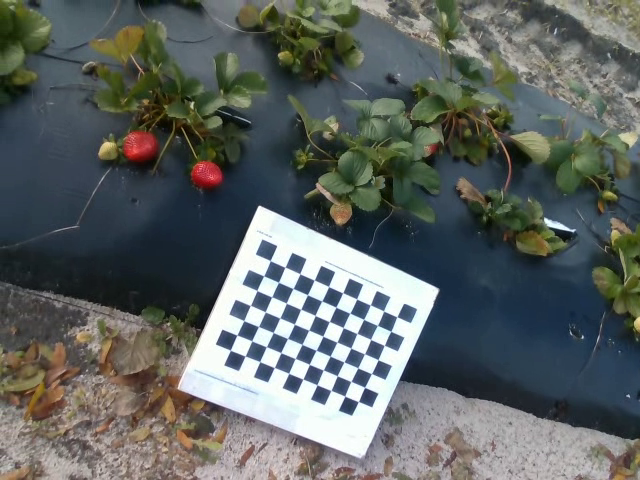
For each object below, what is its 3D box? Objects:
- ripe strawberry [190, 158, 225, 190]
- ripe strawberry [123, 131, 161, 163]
[{"bbox_3d":[-0.105,-0.065,0.709,0.033,0.038,0.039,34,8,-33],"label":"ripe strawberry"},{"bbox_3d":[-0.167,-0.090,0.689,0.035,0.041,0.036,9,27,-9],"label":"ripe strawberry"}]
